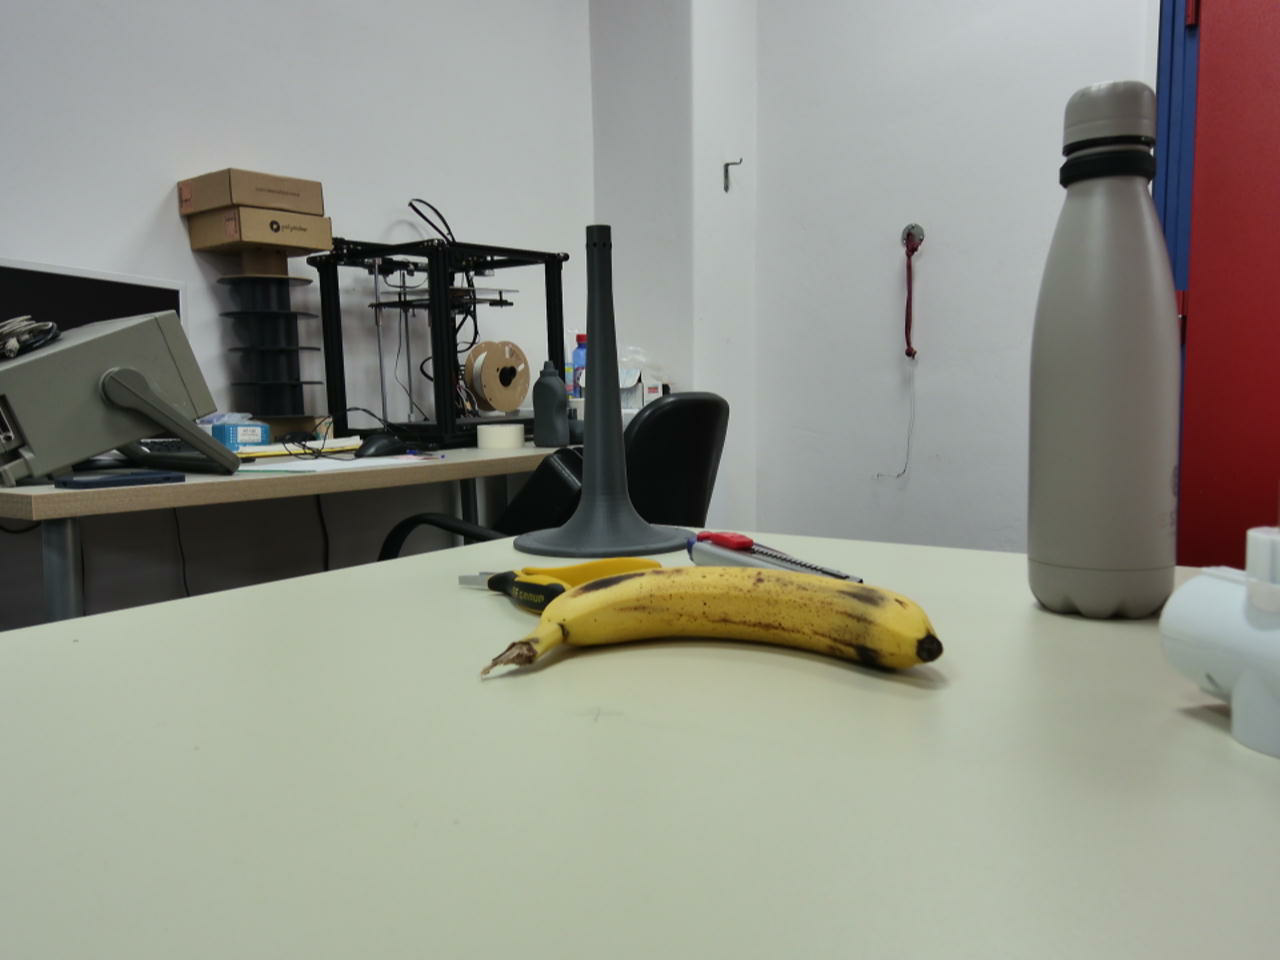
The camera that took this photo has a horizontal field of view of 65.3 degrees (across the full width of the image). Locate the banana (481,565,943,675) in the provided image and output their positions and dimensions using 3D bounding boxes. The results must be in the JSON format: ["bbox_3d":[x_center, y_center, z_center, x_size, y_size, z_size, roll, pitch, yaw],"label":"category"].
[{"bbox_3d":[0.037,0.063,0.461,0.186,0.038,0.097,1,3,10],"label":"banana"}]
